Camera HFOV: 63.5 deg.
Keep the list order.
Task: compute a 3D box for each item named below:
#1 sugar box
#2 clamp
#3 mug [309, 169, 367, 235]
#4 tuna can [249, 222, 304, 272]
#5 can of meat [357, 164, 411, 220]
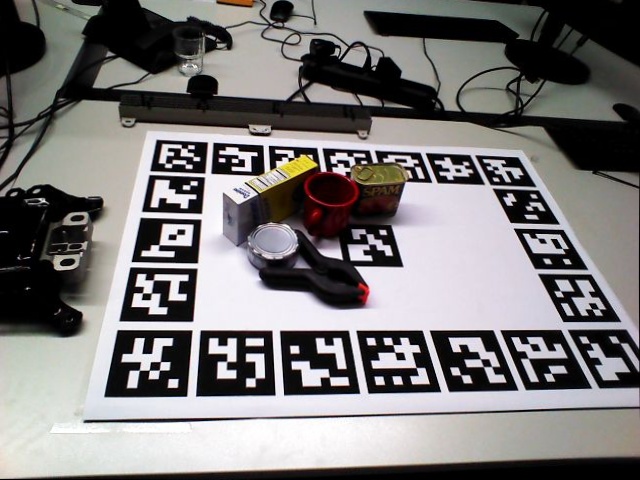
[{"bbox_3d":[-0.072,-0.065,0.862,0.175,0.093,0.045,-30,57,-34],"label":"sugar box"},{"bbox_3d":[0.013,0.058,0.797,0.165,0.037,0.121,29,44,12],"label":"clamp"},{"bbox_3d":[0.022,-0.055,0.864,0.093,0.082,0.116,20,48,8],"label":"mug"},{"bbox_3d":[-0.069,0.013,0.819,0.086,0.034,0.085,5,48,-6],"label":"tuna can"},{"bbox_3d":[0.115,-0.084,0.919,0.101,0.084,0.057,-4,46,-16],"label":"can of meat"}]
